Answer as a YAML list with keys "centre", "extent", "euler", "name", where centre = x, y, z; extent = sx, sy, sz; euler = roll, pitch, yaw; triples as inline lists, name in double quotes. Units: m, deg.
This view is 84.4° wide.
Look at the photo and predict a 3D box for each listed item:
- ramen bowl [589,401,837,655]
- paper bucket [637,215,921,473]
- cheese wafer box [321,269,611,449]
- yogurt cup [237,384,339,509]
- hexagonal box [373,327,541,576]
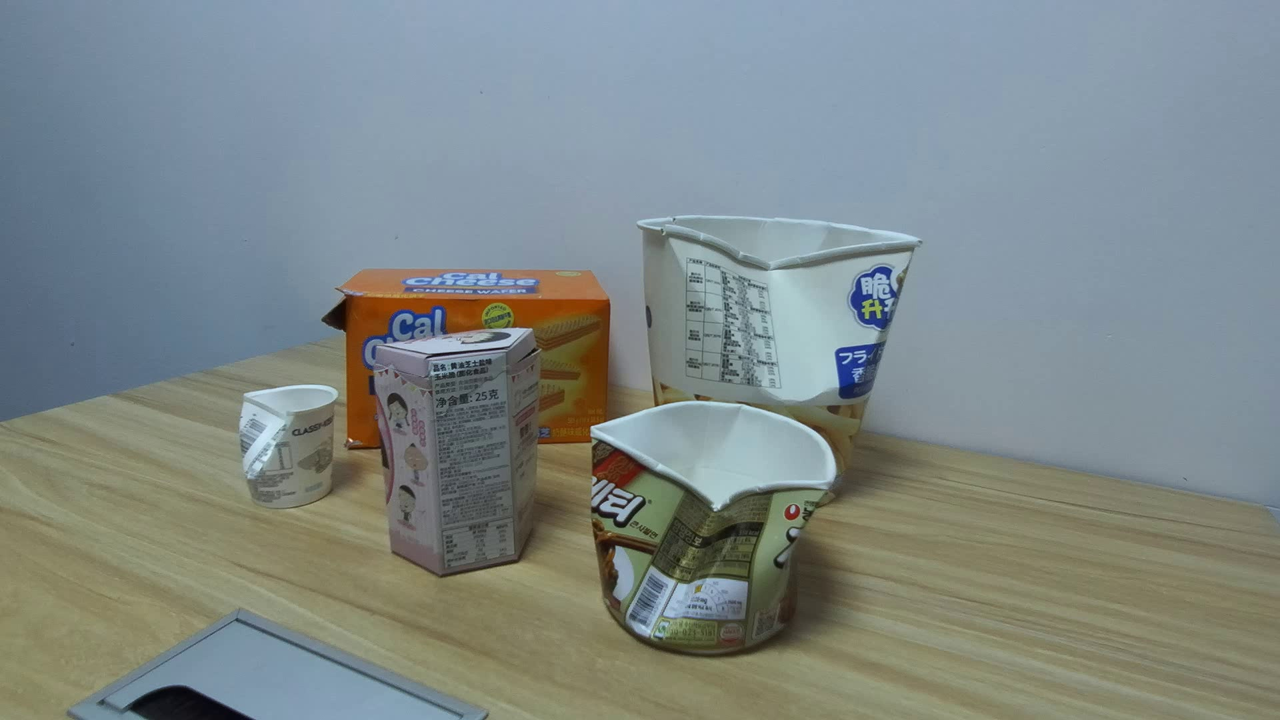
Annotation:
- centre: [0.043, 0.088, 0.397]
  extent: [0.137, 0.098, 0.137]
  euler: [5, 17, -1]
  name: "ramen bowl"
- centre: [0.083, -0.003, 0.535]
  extent: [0.163, 0.202, 0.168]
  euler: [-8, 17, -30]
  name: "paper bucket"
- centre: [-0.145, -0.011, 0.646]
  extent: [0.227, 0.137, 0.149]
  euler: [0, 17, -10]
  name: "cheese wafer box"
- centre: [-0.243, 0.060, 0.494]
  extent: [0.067, 0.070, 0.067]
  euler: [2, 15, 0]
  name: "yogurt cup"
- centre: [-0.108, 0.051, 0.435]
  extent: [0.085, 0.135, 0.092]
  euler: [4, 16, 7]
  name: "hexagonal box"
